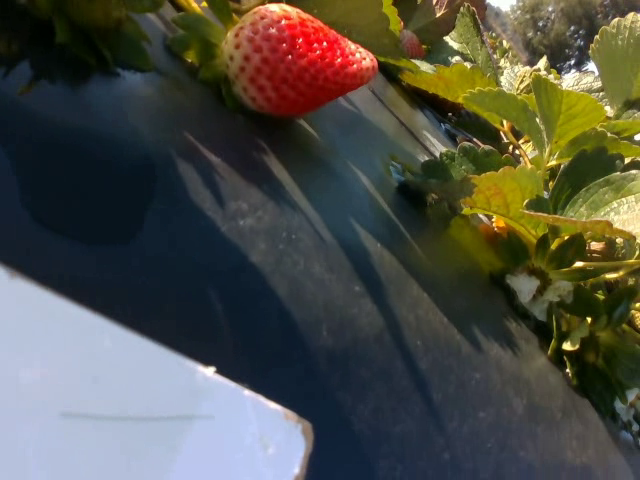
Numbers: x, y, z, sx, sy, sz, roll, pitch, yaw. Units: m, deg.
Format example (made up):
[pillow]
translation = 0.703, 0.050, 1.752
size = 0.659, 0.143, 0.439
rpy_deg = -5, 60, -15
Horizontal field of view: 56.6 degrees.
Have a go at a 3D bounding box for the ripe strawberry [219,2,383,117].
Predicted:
[ripe strawberry]
translation = -0.005, -0.043, 0.151
size = 0.045, 0.037, 0.042
rpy_deg = 0, -14, 26
